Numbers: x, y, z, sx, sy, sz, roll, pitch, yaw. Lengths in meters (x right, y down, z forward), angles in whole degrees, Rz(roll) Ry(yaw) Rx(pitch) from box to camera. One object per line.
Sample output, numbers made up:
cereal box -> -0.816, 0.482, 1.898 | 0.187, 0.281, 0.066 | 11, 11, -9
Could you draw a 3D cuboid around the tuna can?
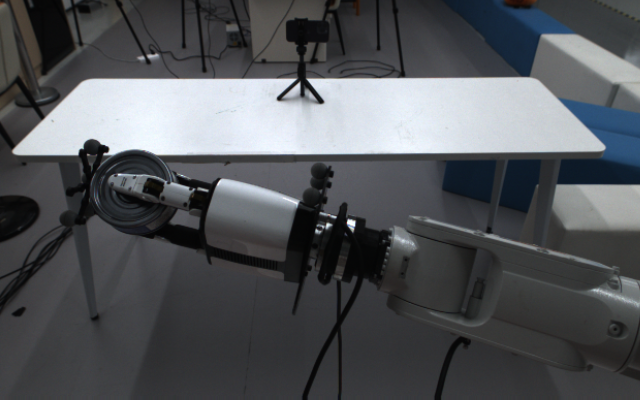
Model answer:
tuna can -> -0.190, -0.009, 0.508 | 0.085, 0.034, 0.085 | 1, 74, -4
